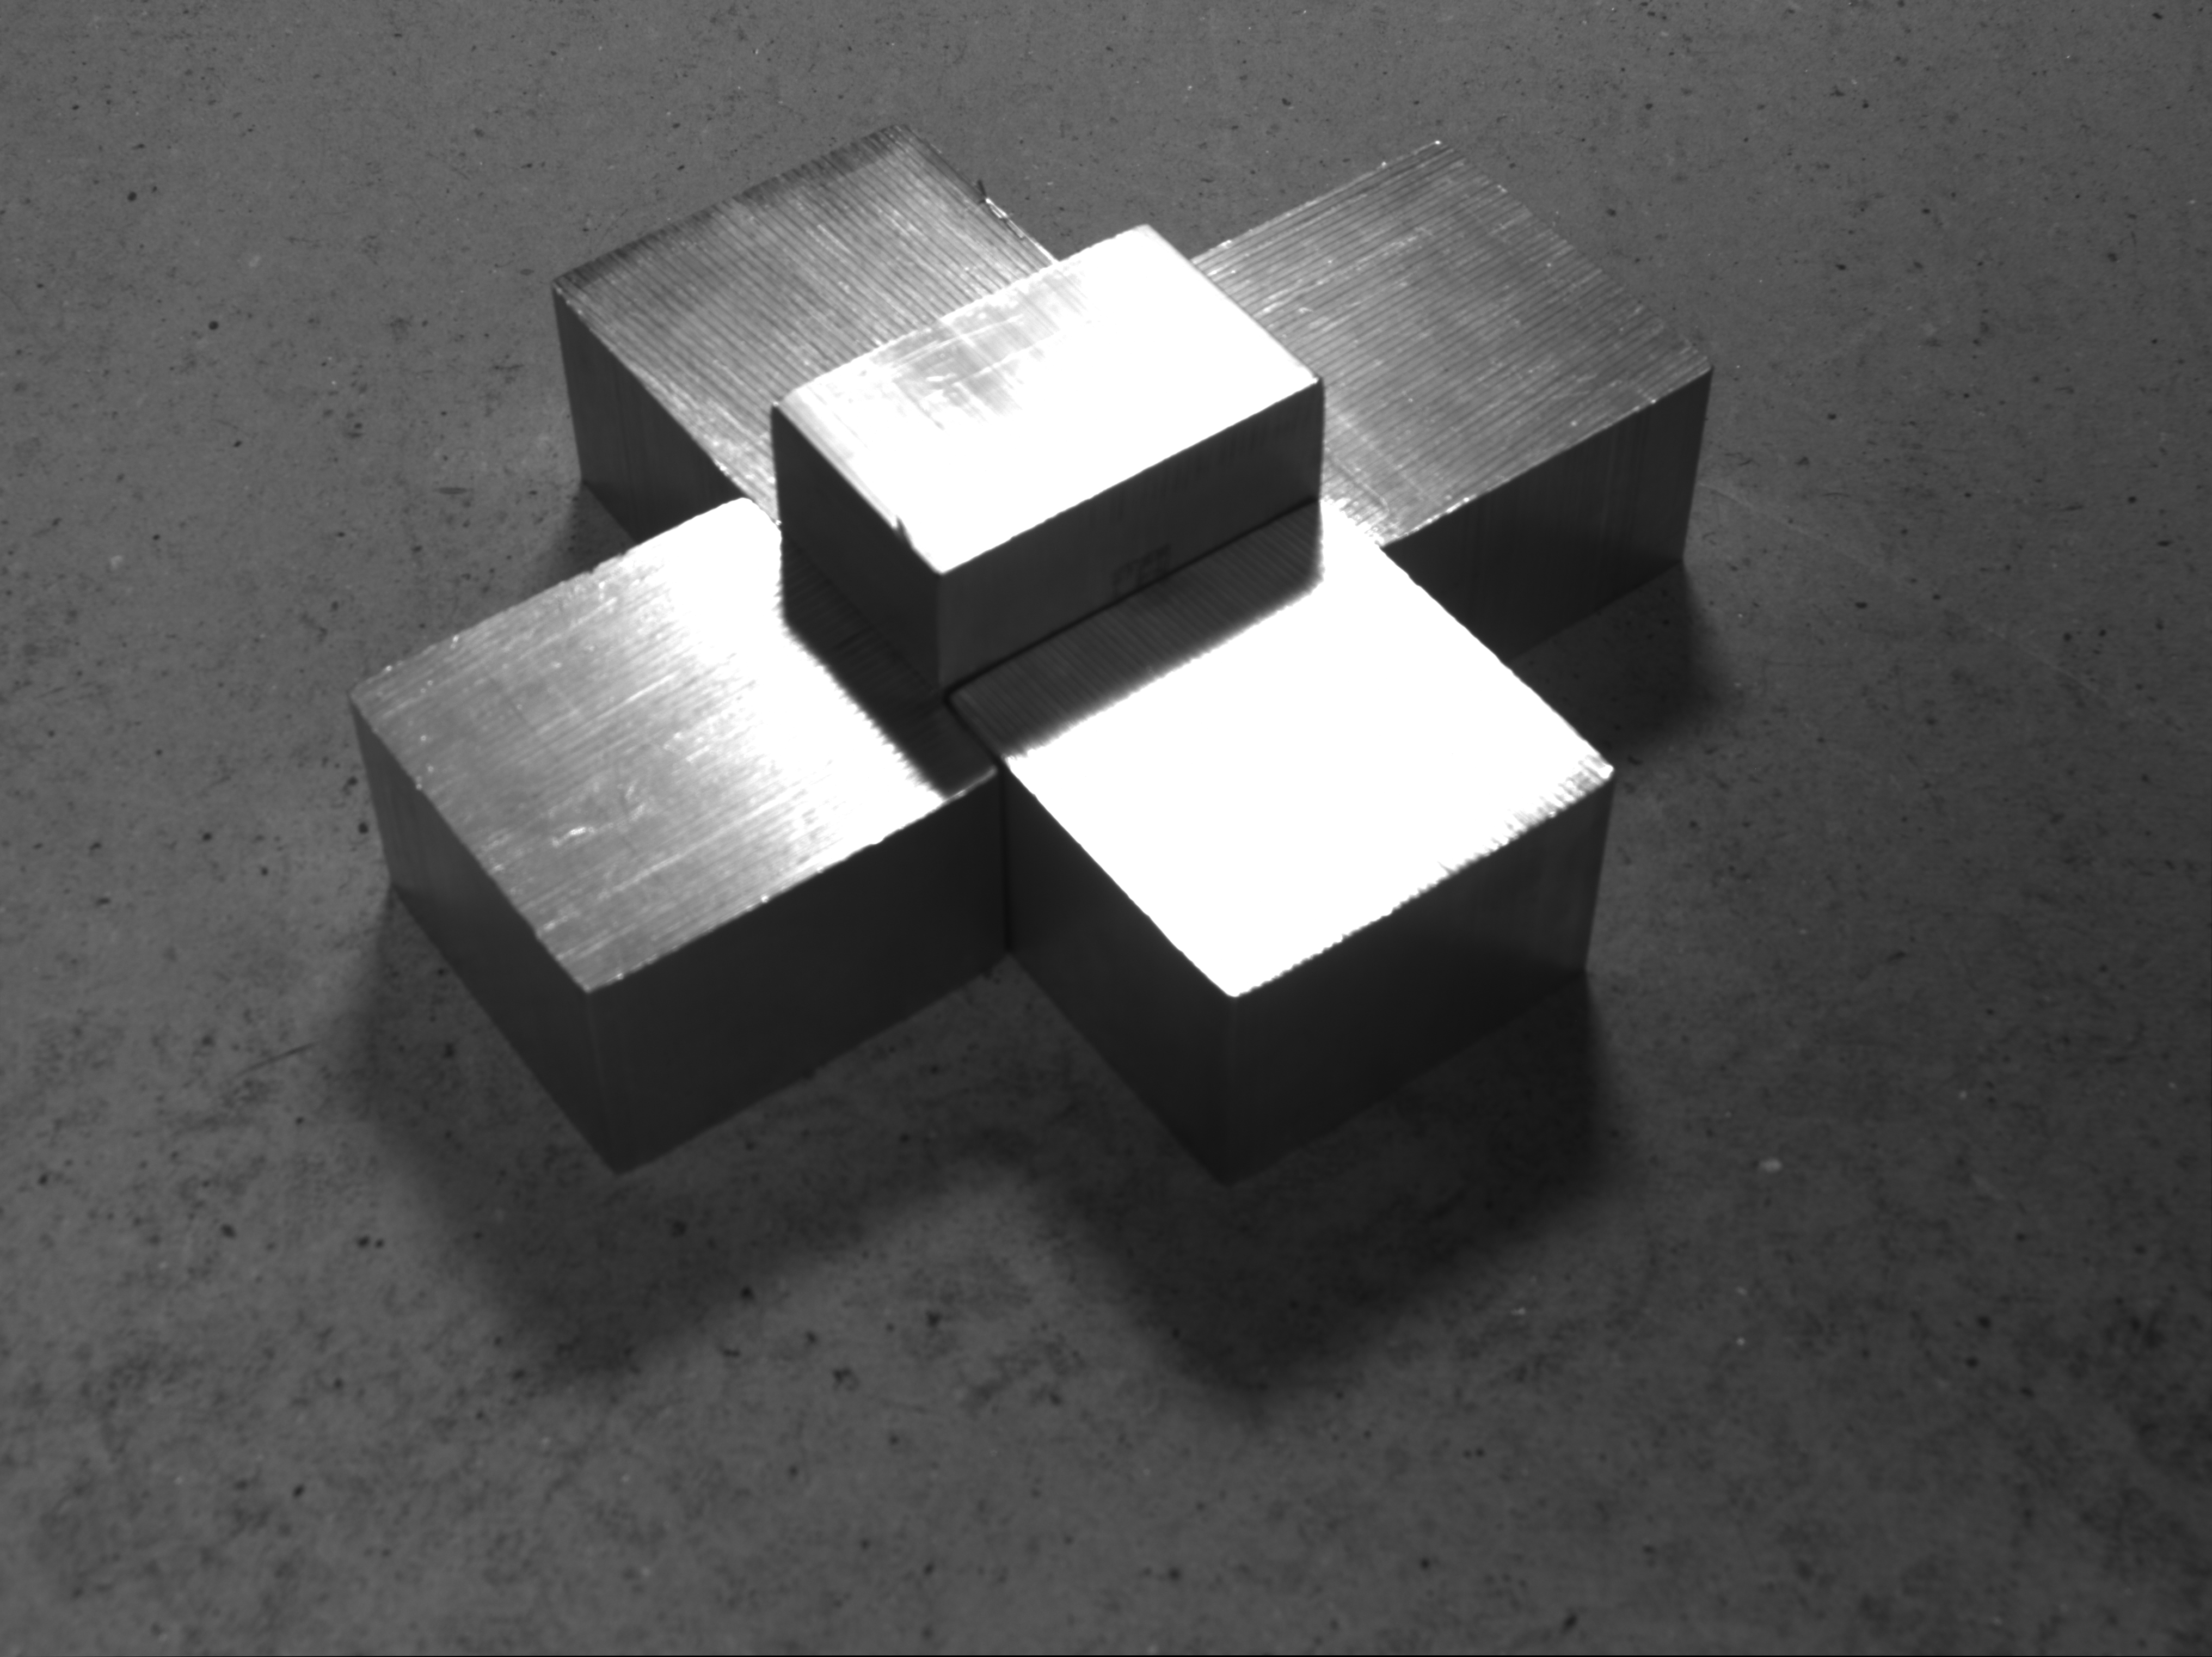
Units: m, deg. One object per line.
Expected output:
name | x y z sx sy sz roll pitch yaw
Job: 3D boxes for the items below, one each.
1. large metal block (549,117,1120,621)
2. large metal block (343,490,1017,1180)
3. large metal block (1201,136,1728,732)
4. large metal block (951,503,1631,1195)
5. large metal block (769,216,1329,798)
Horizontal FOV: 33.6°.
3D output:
large metal block | -0.047 -0.079 0.692 0.080 0.050 0.080 -29 56 -22
large metal block | -0.071 0.000 0.625 0.080 0.050 0.080 -29 56 -22
large metal block | 0.057 -0.074 0.688 0.080 0.050 0.080 -29 56 -22
large metal block | 0.030 0.002 0.623 0.080 0.050 0.080 -29 56 -22
large metal block | -0.009 -0.048 0.647 0.080 0.080 0.050 -29 56 -22
